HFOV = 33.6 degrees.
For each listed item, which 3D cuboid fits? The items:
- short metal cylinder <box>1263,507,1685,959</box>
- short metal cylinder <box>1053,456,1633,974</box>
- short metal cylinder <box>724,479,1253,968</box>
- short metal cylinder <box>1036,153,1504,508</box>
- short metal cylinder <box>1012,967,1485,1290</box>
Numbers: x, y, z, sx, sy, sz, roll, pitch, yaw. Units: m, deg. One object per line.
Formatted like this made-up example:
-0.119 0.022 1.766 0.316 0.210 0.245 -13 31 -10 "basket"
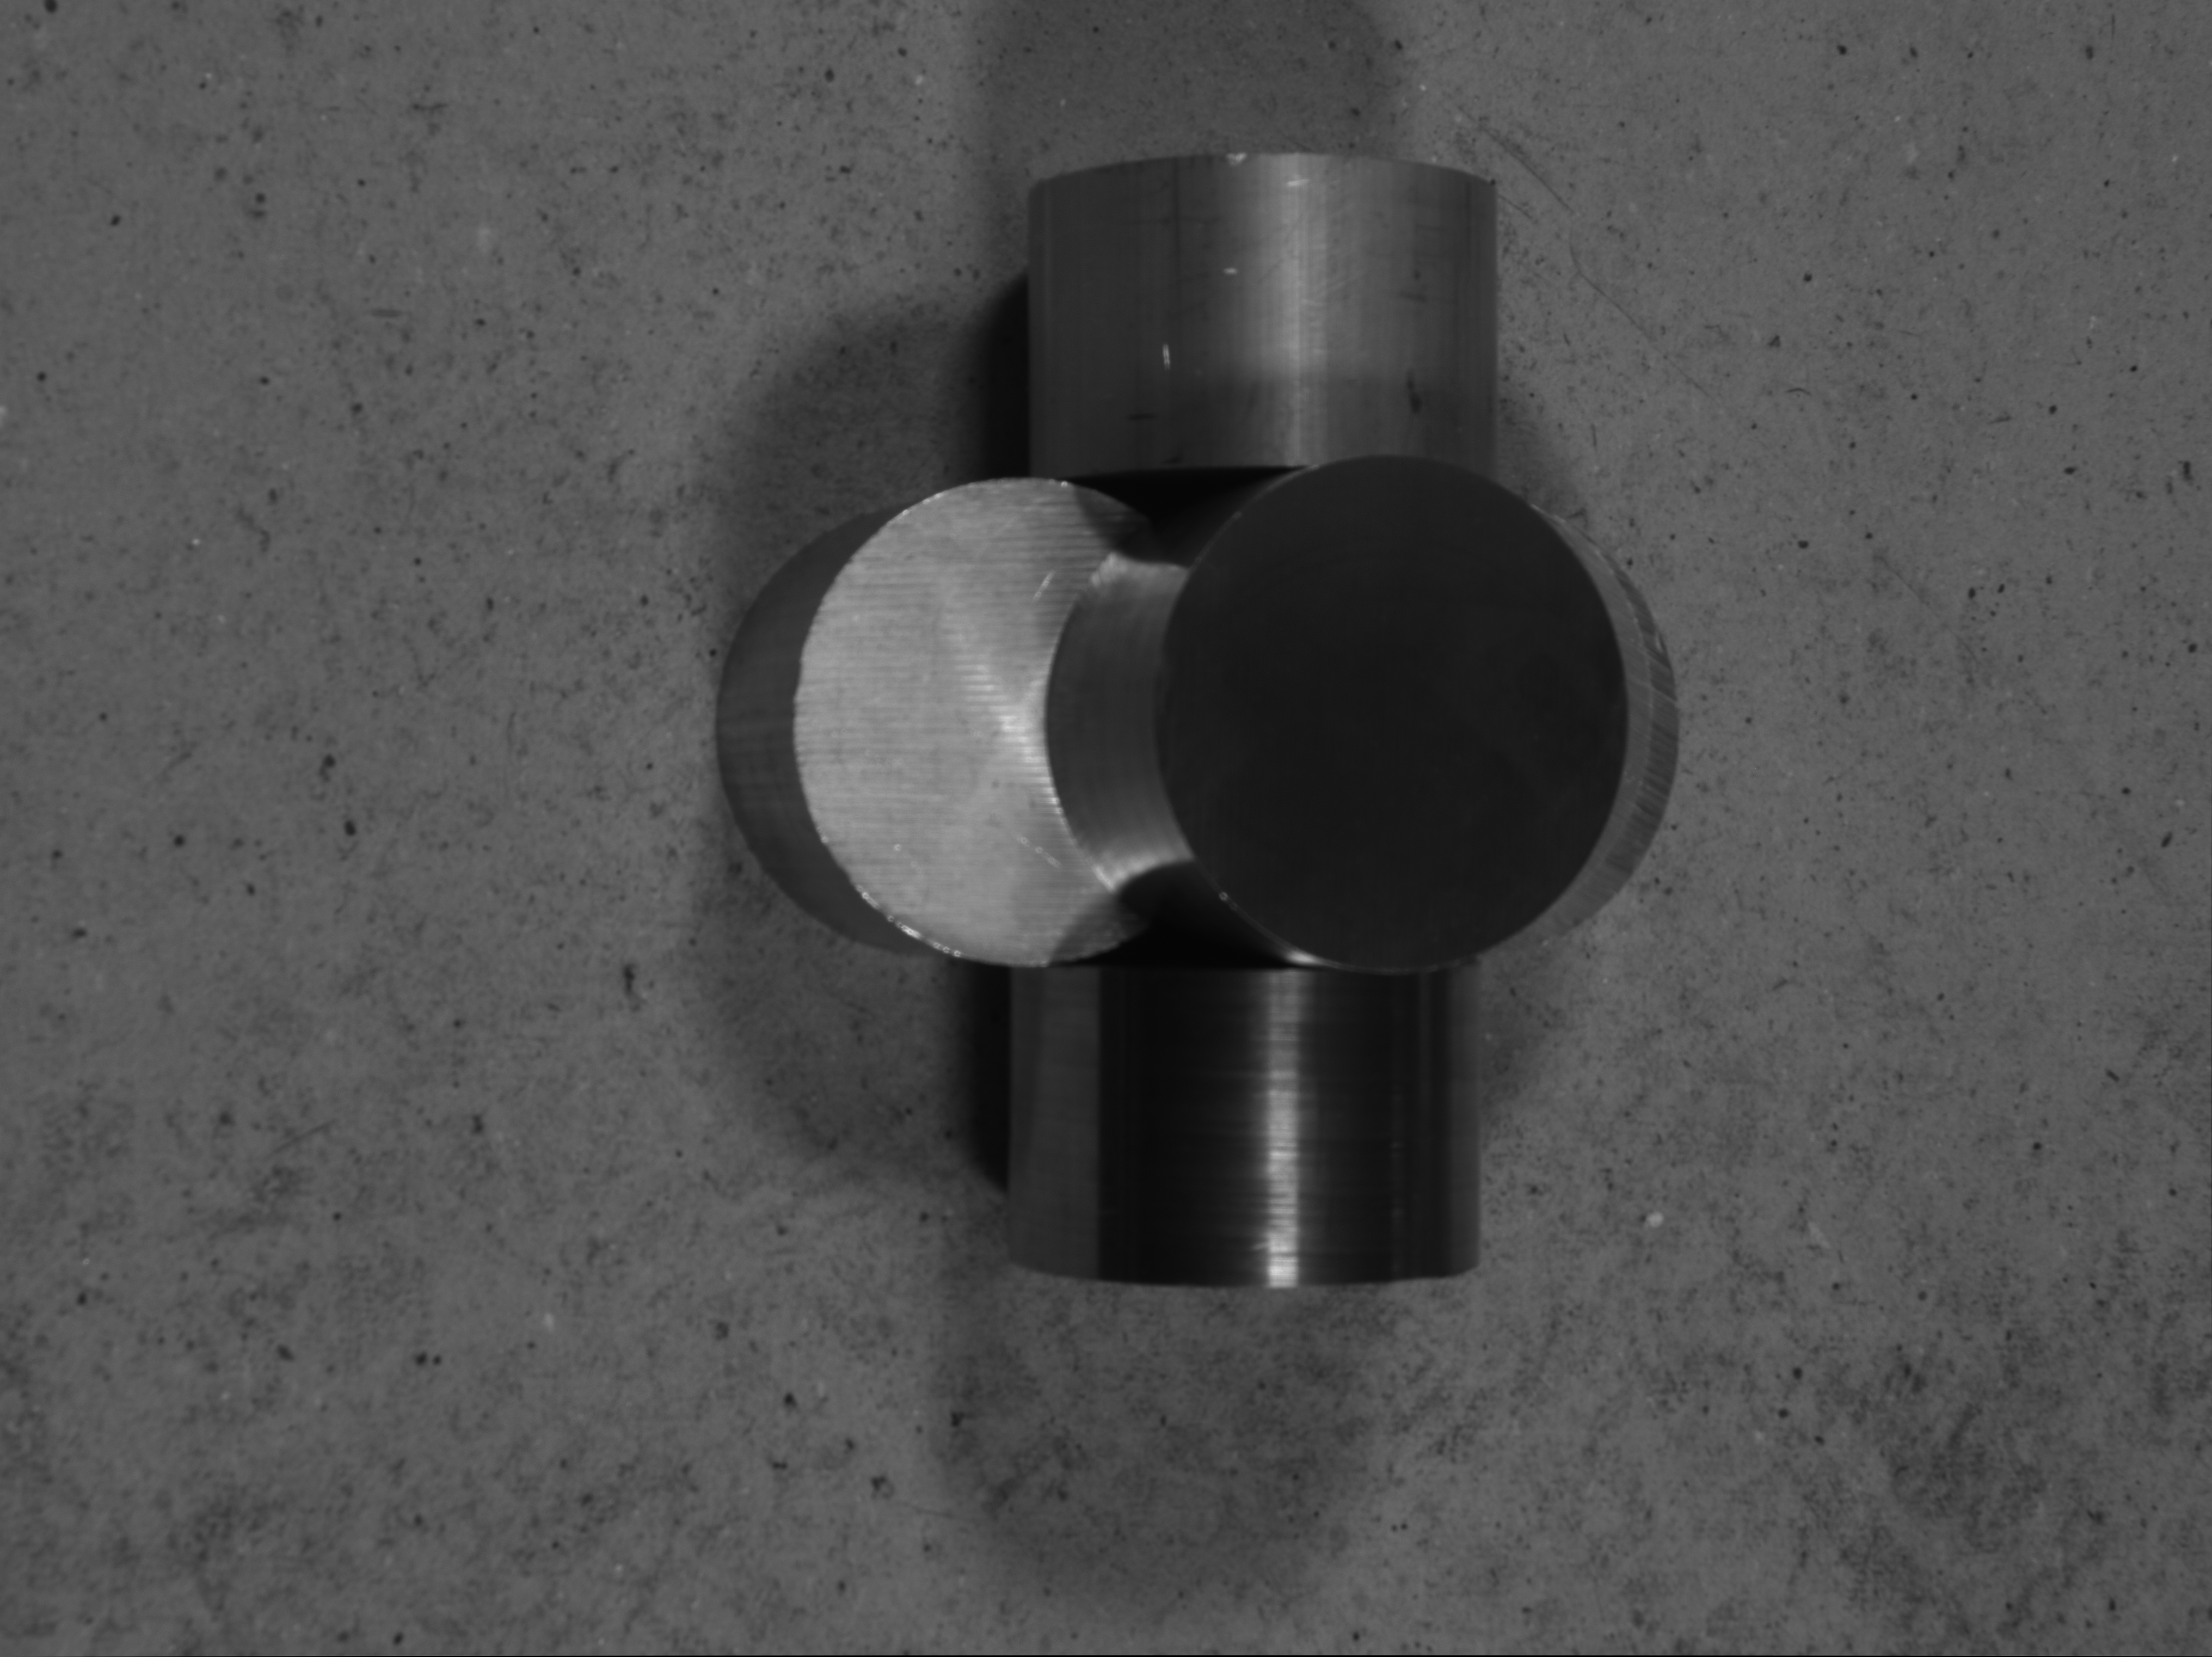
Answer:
0.055 -0.017 0.650 0.080 0.050 0.080 0 90 -20 "short metal cylinder"
0.037 -0.018 0.590 0.080 0.050 0.080 0 90 -20 "short metal cylinder"
-0.020 -0.017 0.623 0.080 0.050 0.080 0 90 -20 "short metal cylinder"
0.028 -0.083 0.625 0.080 0.080 0.050 0 90 -20 "short metal cylinder"
0.024 0.049 0.623 0.080 0.080 0.050 0 90 -20 "short metal cylinder"
